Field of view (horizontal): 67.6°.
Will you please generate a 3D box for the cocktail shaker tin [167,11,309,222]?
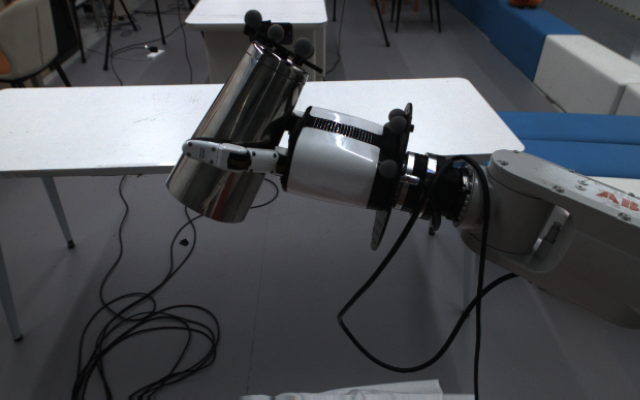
[{"bbox_3d":[-0.080,-0.073,0.504,0.093,0.170,0.093,28,14,-7],"label":"cocktail shaker tin"}]
